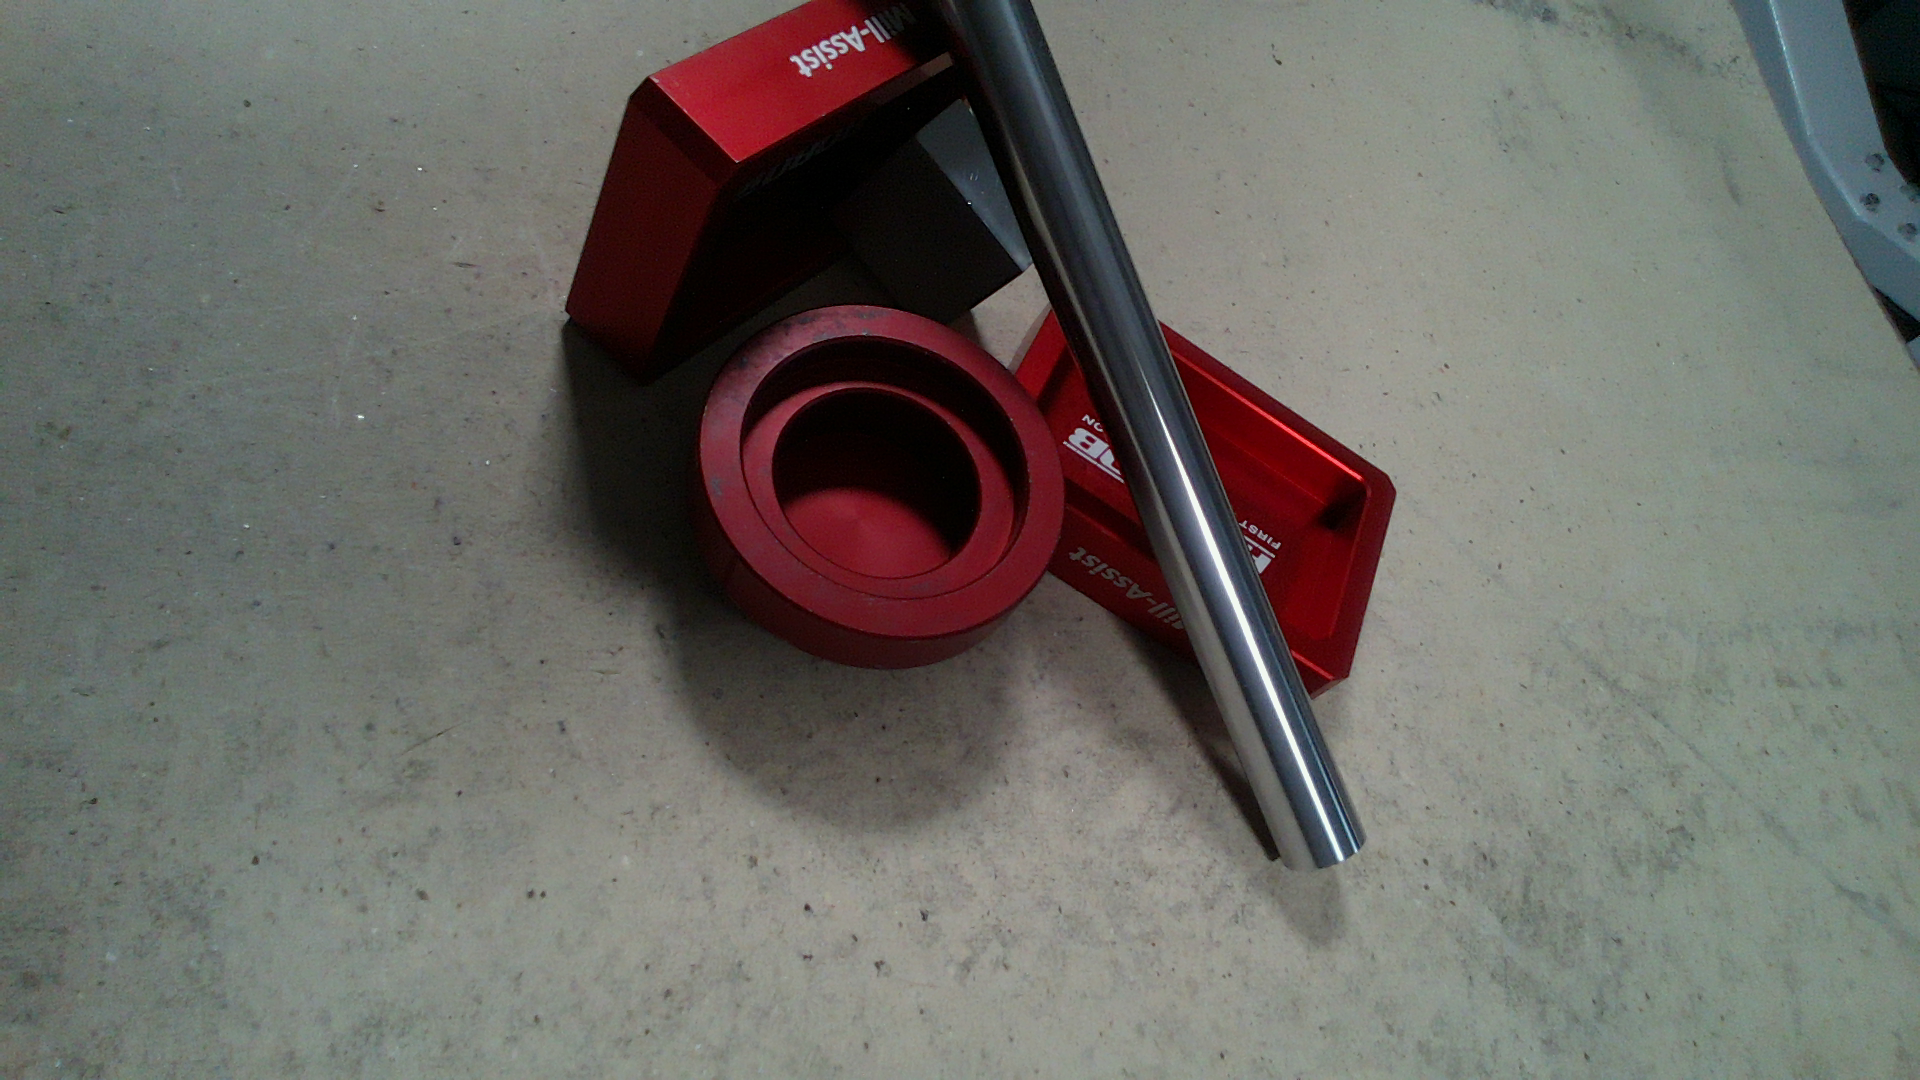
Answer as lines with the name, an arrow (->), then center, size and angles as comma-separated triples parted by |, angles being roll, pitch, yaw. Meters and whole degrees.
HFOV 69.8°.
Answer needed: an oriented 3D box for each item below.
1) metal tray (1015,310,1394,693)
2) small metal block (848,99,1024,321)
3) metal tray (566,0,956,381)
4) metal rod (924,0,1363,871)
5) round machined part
metal tray -> 0.069, -0.016, 0.434 | 0.130, 0.030, 0.090 | 33, 51, -7
small metal block -> -0.006, -0.097, 0.424 | 0.050, 0.050, 0.025 | 49, 52, -12
metal tray -> -0.046, -0.108, 0.389 | 0.030, 0.090, 0.130 | 44, 51, 3
metal rod -> 0.044, -0.048, 0.375 | 0.025, 0.025, 0.300 | -29, 99, -37
round machined part -> -0.025, -0.011, 0.368 | 0.098, 0.042, 0.098 | 9, 62, -17
